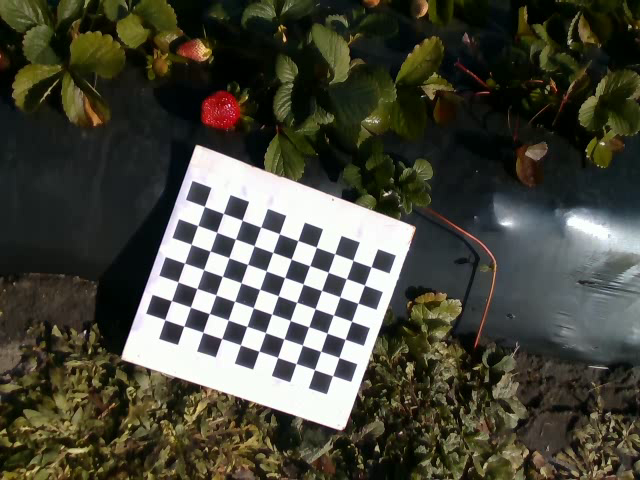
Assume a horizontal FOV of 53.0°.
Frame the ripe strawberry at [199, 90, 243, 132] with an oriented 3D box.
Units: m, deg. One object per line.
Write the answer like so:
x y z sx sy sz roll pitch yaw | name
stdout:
-0.122 -0.152 0.753 0.058 0.066 0.061 -24 6 23 | ripe strawberry
